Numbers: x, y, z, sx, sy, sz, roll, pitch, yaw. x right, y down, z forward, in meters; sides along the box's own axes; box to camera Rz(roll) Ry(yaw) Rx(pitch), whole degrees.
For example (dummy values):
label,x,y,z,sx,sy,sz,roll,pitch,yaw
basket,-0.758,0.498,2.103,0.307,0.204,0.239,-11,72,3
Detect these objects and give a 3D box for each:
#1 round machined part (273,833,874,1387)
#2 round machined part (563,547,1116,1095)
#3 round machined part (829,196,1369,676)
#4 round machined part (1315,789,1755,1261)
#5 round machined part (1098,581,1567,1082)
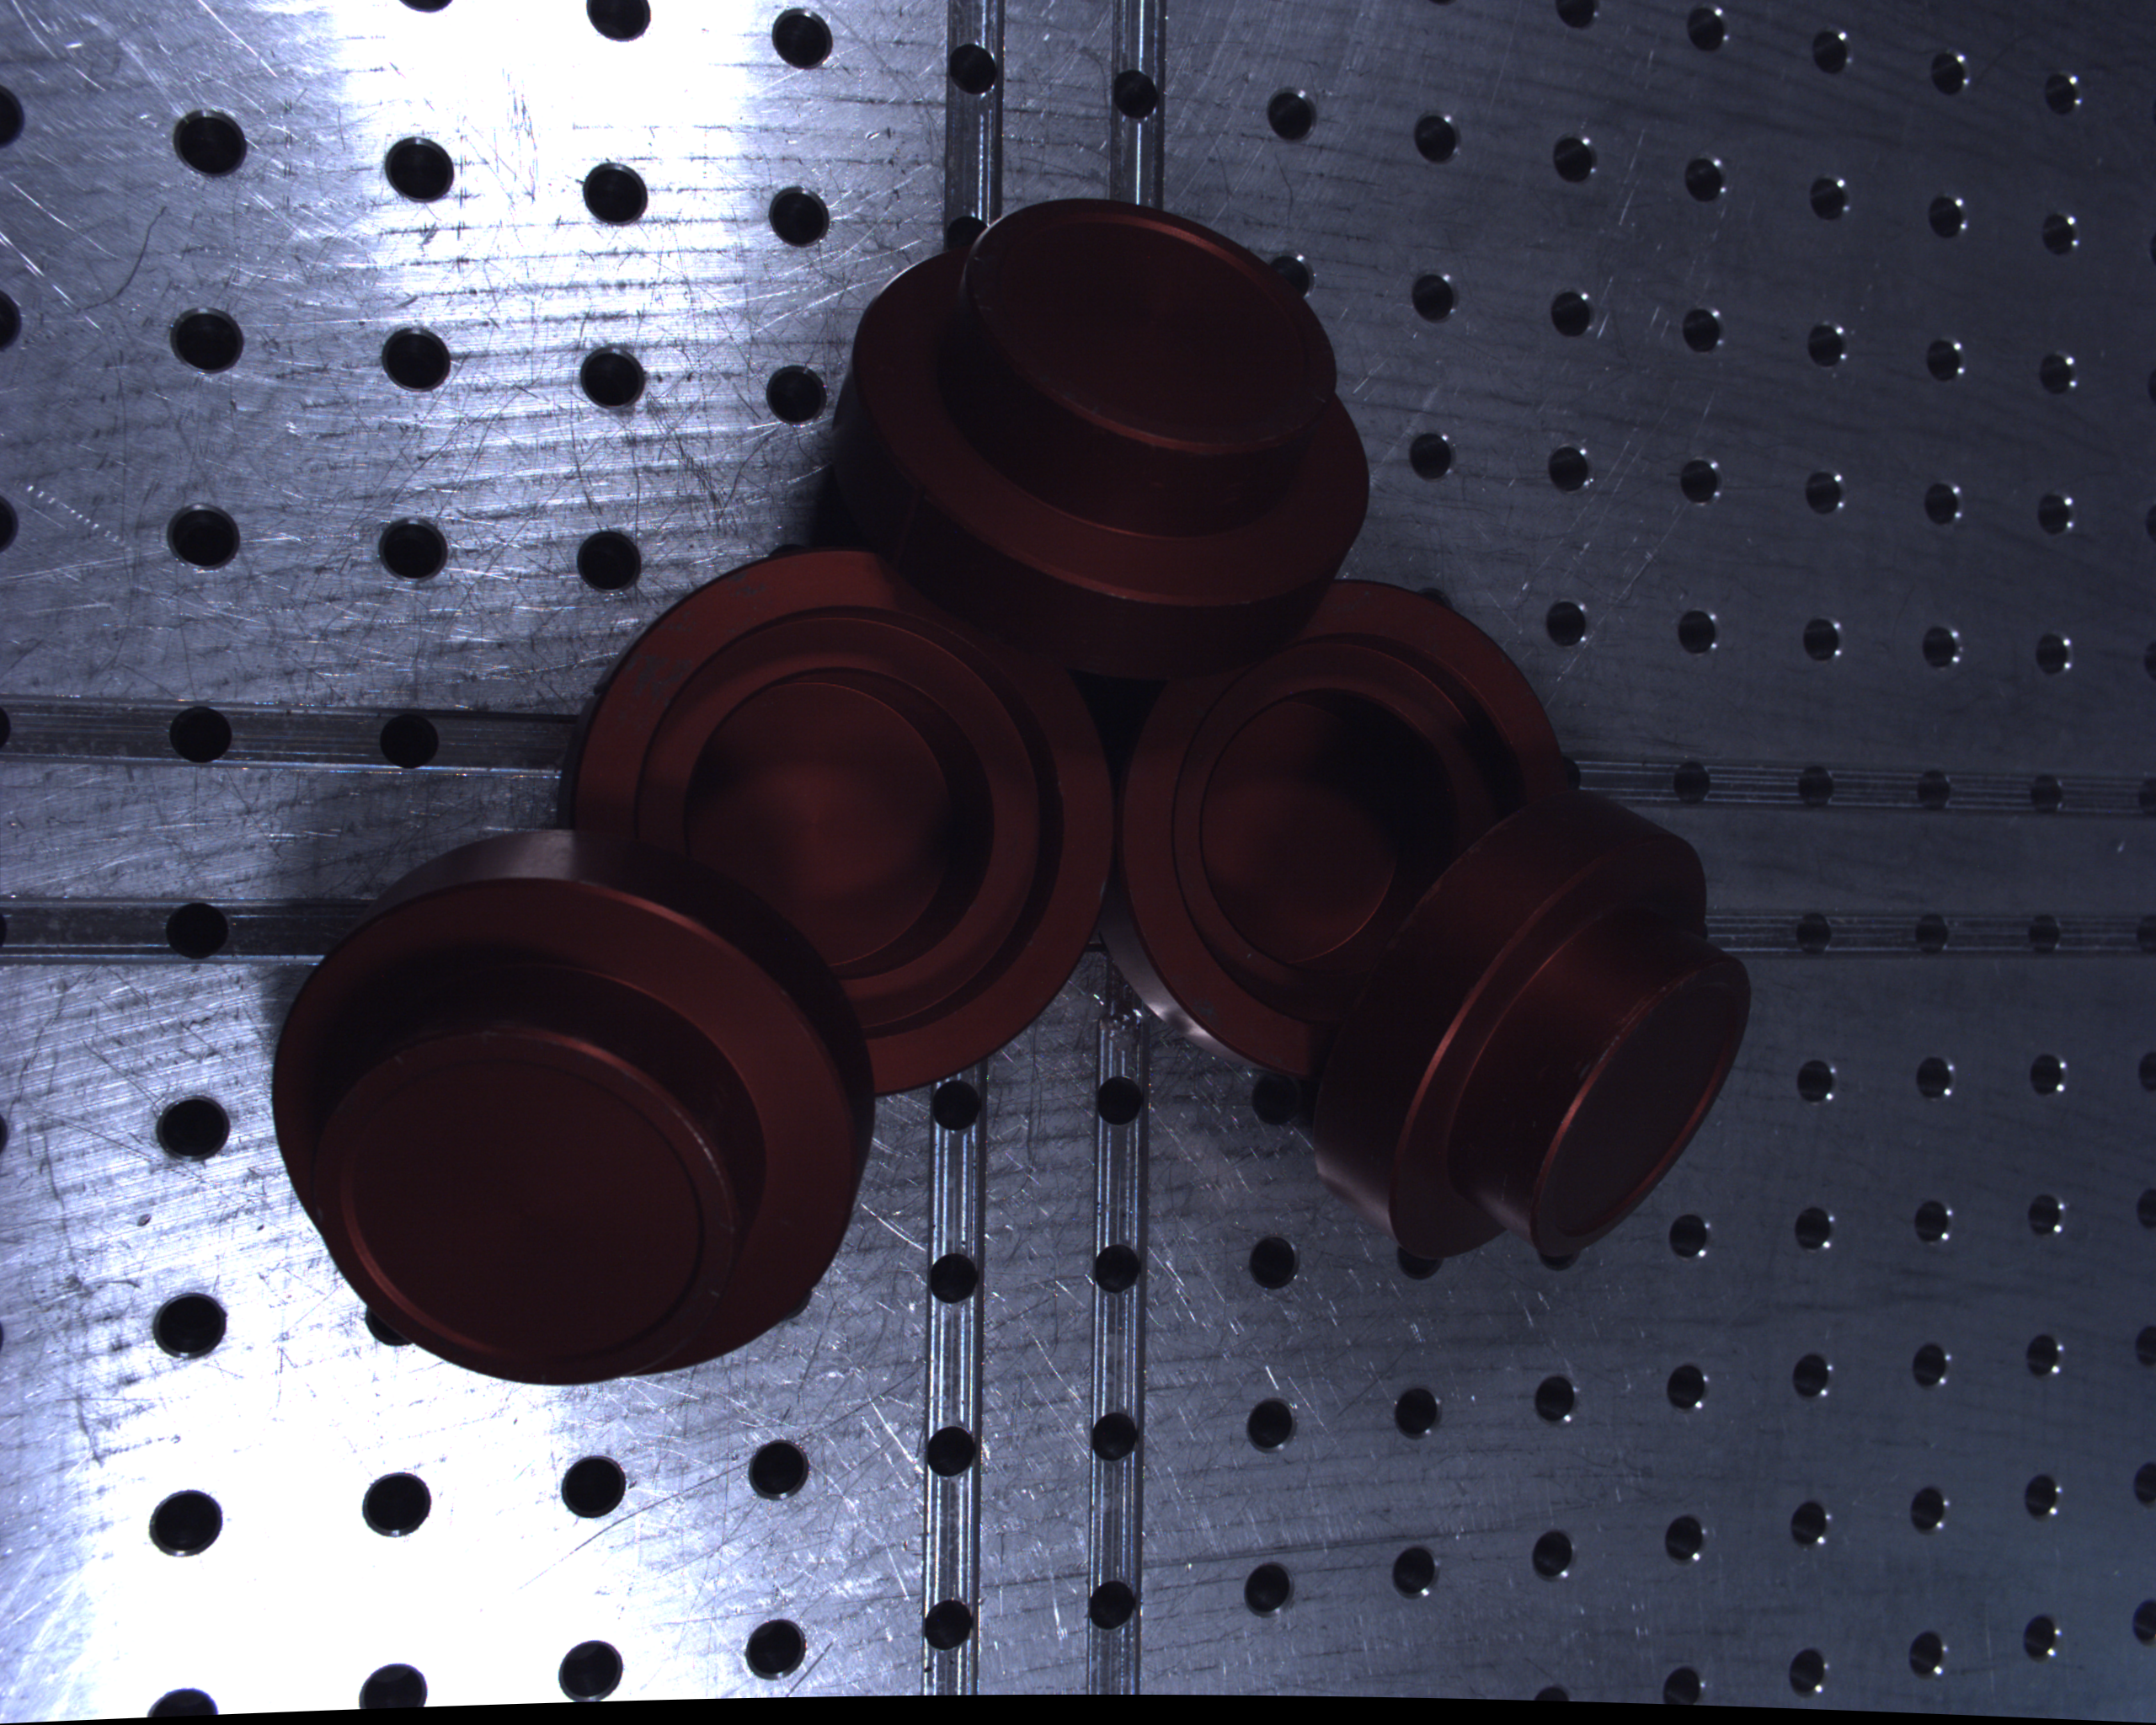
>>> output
label,x,y,z,sx,sy,sz,roll,pitch,yaw
round machined part,-0.086,0.048,0.348,0.099,0.042,0.097,2,115,4
round machined part,-0.046,-0.007,0.386,0.099,0.042,0.097,0,90,-21
round machined part,0.007,-0.083,0.380,0.099,0.042,0.098,11,49,-12
round machined part,0.095,0.038,0.412,0.099,0.042,0.097,-29,136,-32
round machined part,0.046,-0.006,0.422,0.099,0.042,0.097,0,90,-21
